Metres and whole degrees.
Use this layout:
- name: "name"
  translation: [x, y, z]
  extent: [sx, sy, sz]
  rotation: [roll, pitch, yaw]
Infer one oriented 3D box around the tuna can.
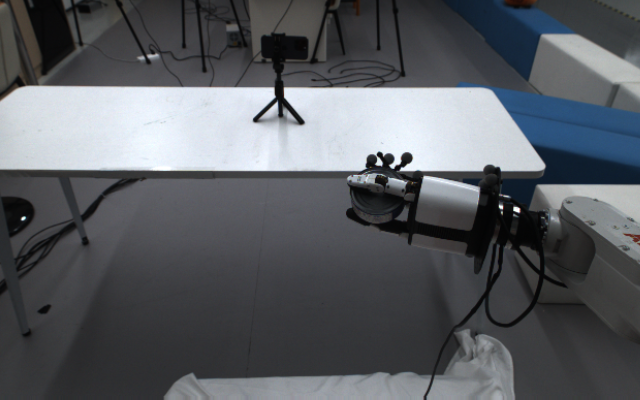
- name: "tuna can"
  translation: [0.090, -0.008, 0.742]
  extent: [0.085, 0.034, 0.085]
  rotation: [-4, 56, 6]
